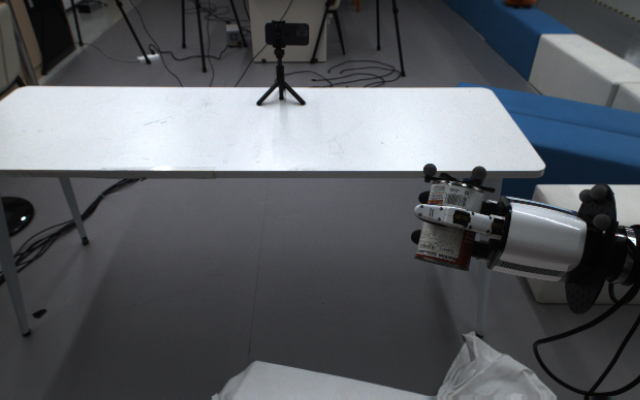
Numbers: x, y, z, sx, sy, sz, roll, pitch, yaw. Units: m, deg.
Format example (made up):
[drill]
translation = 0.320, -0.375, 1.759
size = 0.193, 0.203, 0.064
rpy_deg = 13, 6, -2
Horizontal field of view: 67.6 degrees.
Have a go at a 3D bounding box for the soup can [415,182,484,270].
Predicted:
[soup can]
translation = 0.166, 0.032, 0.615
size = 0.067, 0.101, 0.067
rpy_deg = 14, -6, 1
